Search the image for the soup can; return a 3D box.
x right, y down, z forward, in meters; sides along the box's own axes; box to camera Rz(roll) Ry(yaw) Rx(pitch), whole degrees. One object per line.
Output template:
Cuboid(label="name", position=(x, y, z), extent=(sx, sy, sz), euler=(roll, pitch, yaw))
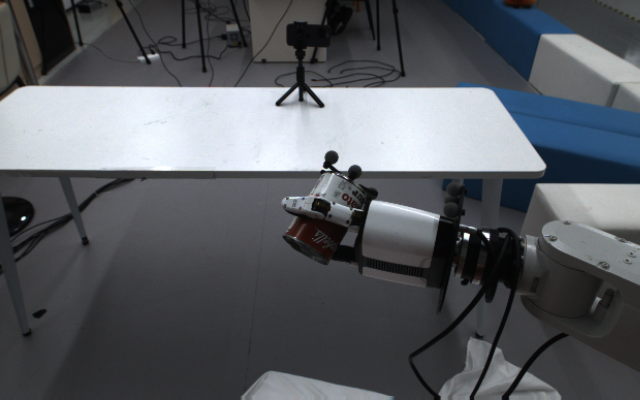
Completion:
Cuboid(label="soup can", position=(0.008, 0.022, 0.614), extent=(0.067, 0.067, 0.101), euler=(24, 73, 29))
